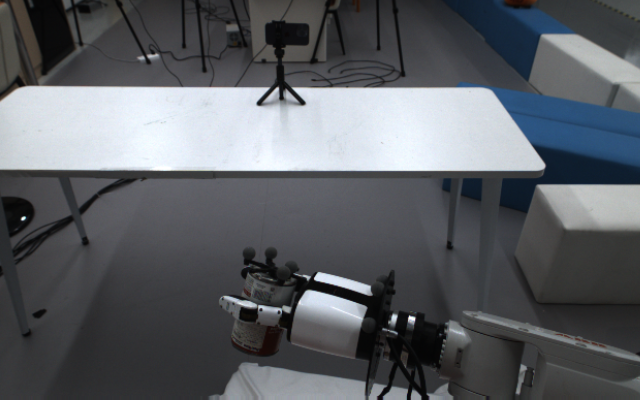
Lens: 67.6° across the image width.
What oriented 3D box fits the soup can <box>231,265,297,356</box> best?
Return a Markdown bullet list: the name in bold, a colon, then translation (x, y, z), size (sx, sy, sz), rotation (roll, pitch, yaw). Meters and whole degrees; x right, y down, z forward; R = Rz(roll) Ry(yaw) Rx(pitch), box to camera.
- **soup can**: translation (-0.073, 0.146, 0.640), size (0.067, 0.101, 0.067), rotation (15, 7, -2)
